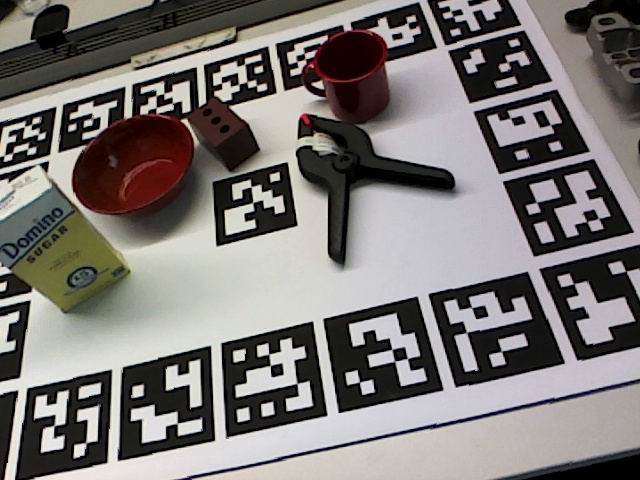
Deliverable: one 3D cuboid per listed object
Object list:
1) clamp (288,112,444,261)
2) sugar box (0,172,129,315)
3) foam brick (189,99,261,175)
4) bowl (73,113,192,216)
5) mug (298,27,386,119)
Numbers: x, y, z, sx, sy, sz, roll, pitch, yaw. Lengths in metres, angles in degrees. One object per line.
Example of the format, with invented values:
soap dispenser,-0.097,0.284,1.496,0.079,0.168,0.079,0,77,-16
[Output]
clamp,0.023,-0.089,0.744,0.165,0.036,0.204,-35,58,-6
sugar box,-0.296,0.010,0.691,0.093,0.175,0.045,-35,59,-10
foam brick,-0.125,-0.136,0.817,0.053,0.051,0.078,-38,59,-9
bowl,-0.235,-0.087,0.807,0.162,0.055,0.162,-6,58,10
mug,0.029,-0.212,0.796,0.117,0.081,0.093,9,62,16
